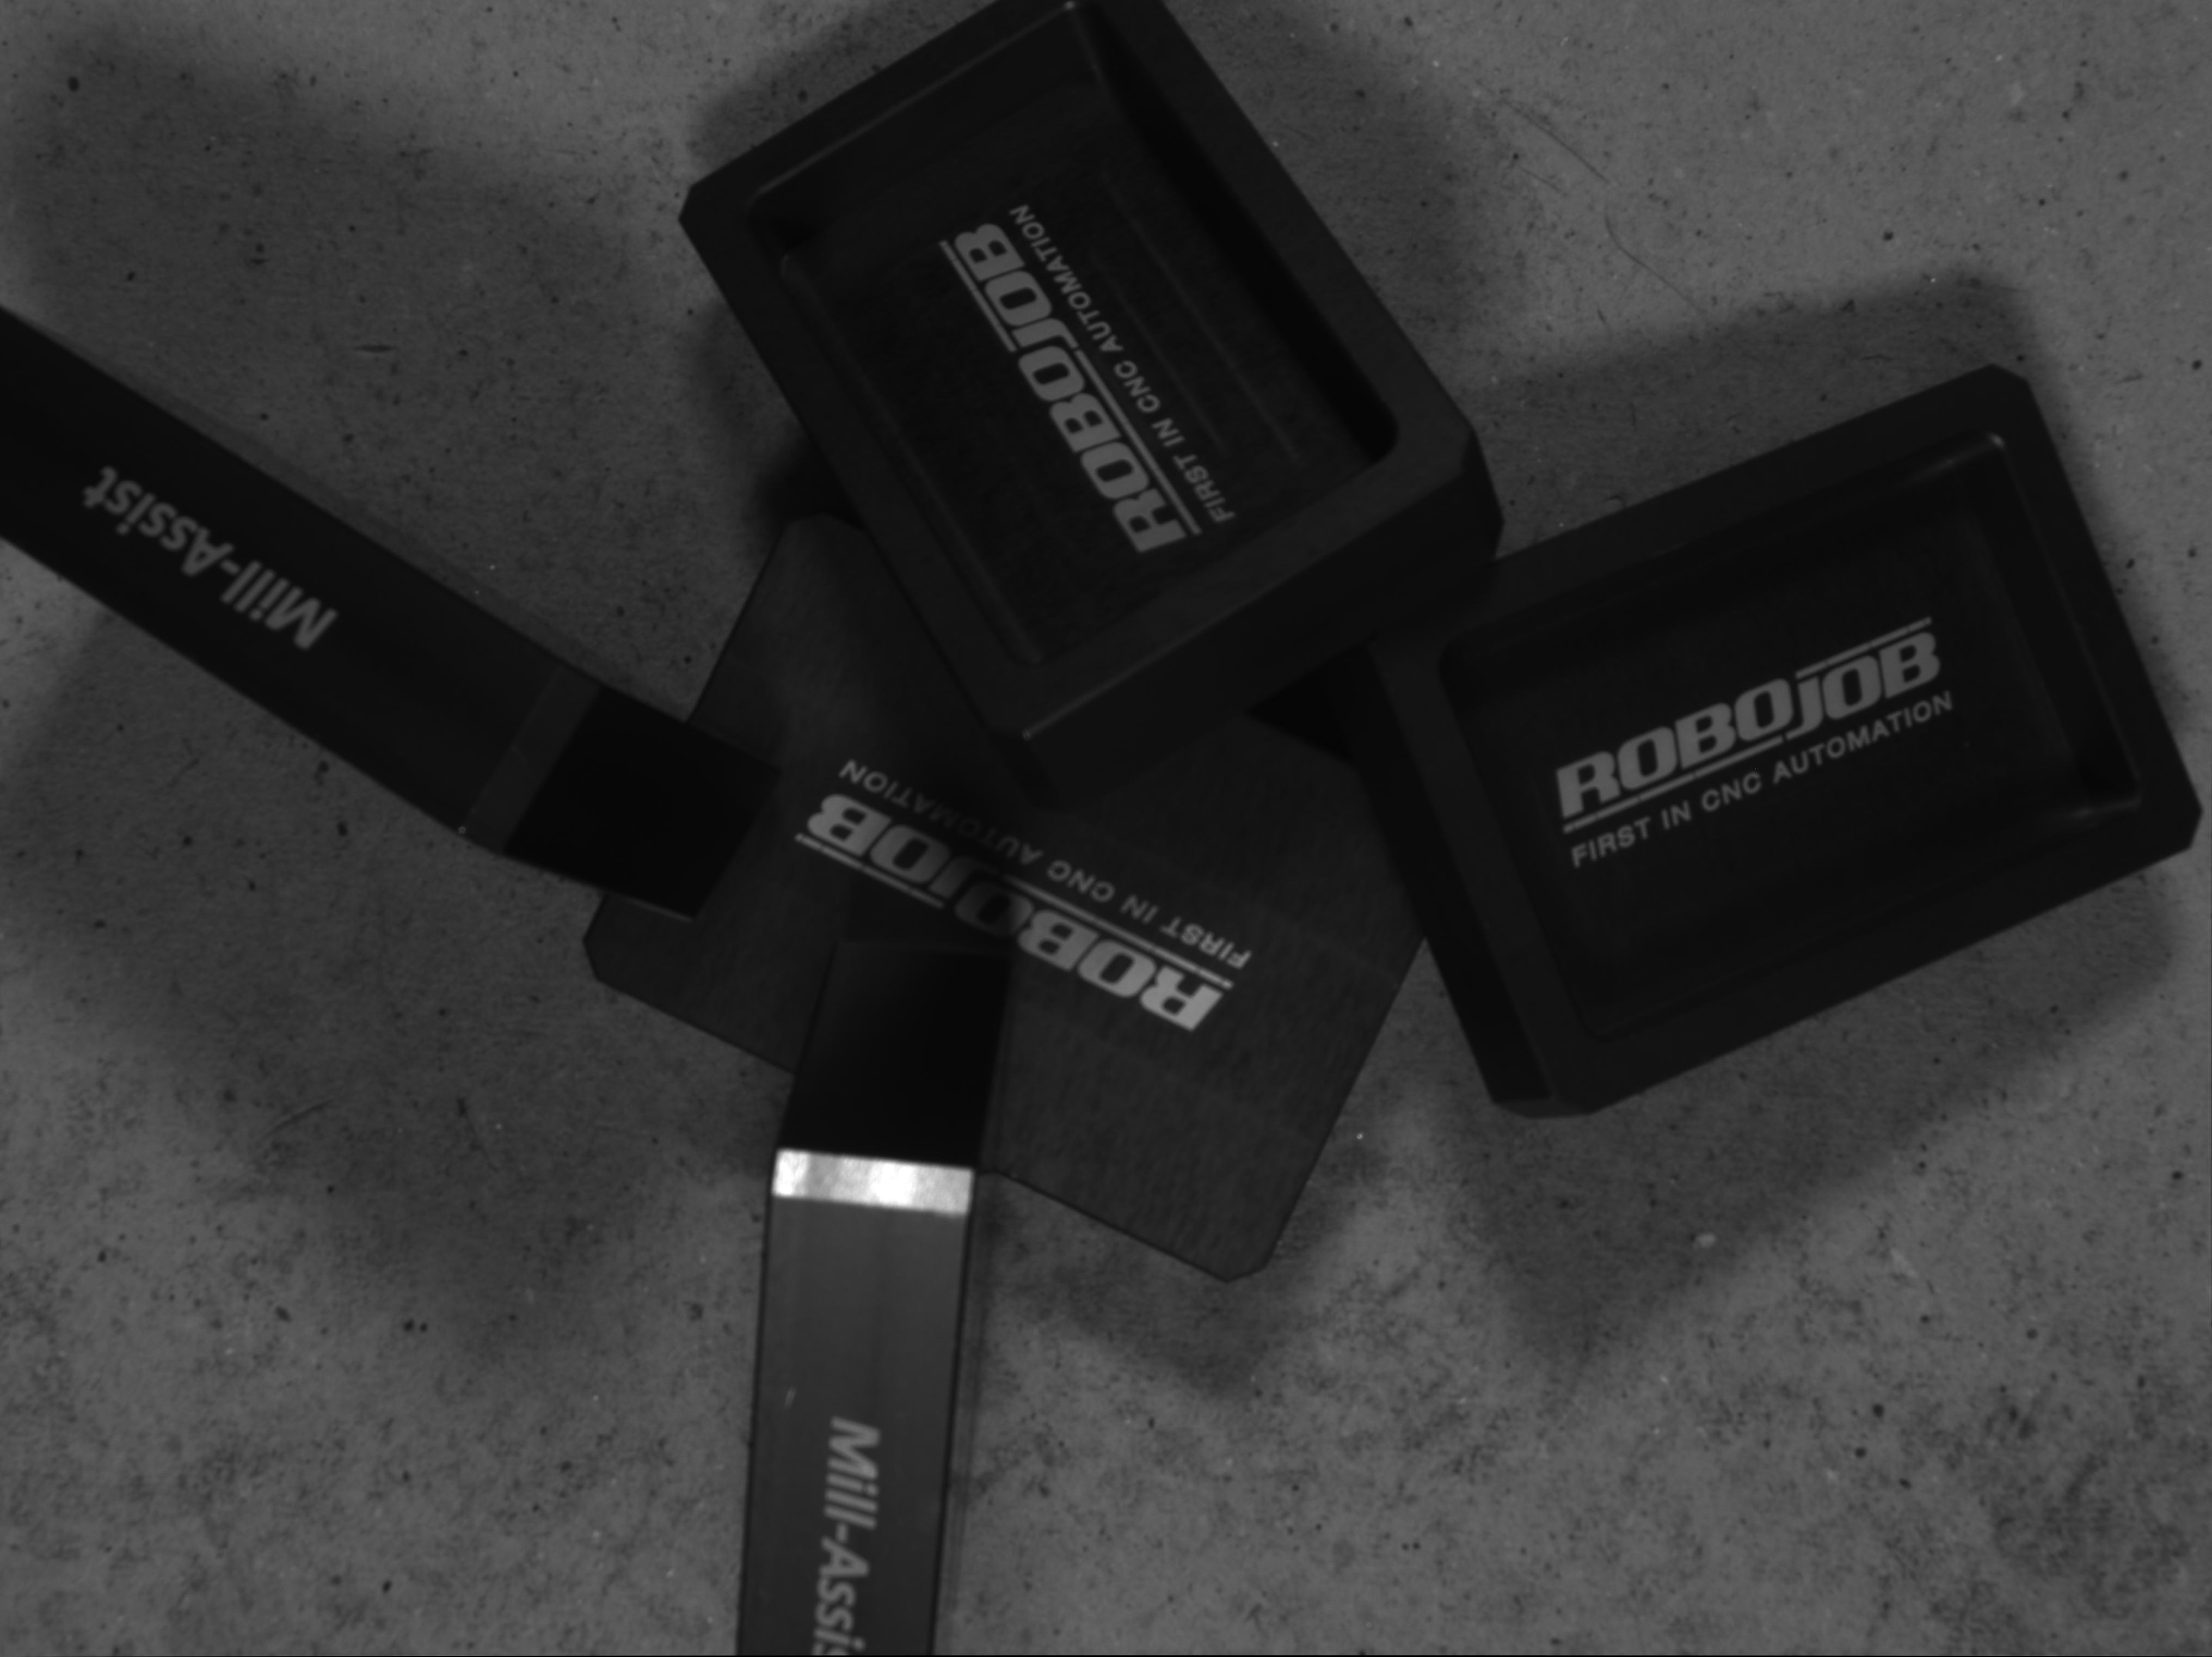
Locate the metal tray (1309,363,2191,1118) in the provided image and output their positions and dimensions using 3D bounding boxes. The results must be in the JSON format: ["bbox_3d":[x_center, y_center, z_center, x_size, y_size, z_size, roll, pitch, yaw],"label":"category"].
[{"bbox_3d":[0.110,-0.015,0.627,0.130,0.030,0.090,-22,90,-15],"label":"metal tray"}]

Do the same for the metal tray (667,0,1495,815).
[{"bbox_3d":[-0.006,-0.077,0.613,0.090,0.030,0.130,-31,61,-1],"label":"metal tray"}]

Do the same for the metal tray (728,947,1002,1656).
[{"bbox_3d":[-0.040,0.096,0.593,0.030,0.090,0.130,6,110,0],"label":"metal tray"}]

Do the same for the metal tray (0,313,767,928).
[{"bbox_3d":[-0.127,-0.034,0.596,0.130,0.090,0.030,32,90,16],"label":"metal tray"}]

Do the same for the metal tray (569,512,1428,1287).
[{"bbox_3d":[-0.016,0.012,0.642,0.130,0.030,0.090,26,90,0],"label":"metal tray"}]
